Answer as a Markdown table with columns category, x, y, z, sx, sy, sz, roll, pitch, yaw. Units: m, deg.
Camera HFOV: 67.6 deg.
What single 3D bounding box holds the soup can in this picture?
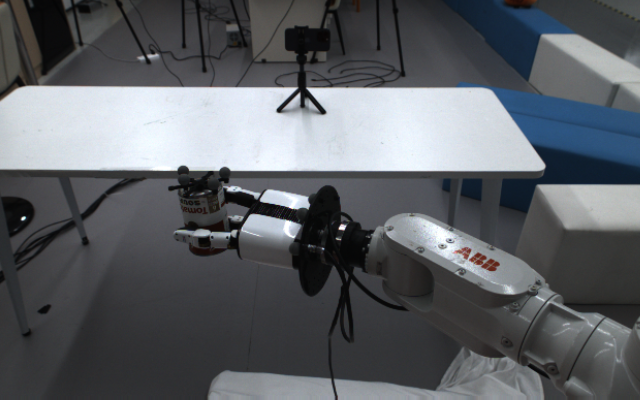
| category | x | y | z | sx | sy | sz | roll | pitch | yaw |
| --- | --- | --- | --- | --- | --- | --- | --- | --- | --- |
| soup can | -0.175 | 0.027 | 0.740 | 0.067 | 0.101 | 0.067 | -4 | 26 | 2 |
